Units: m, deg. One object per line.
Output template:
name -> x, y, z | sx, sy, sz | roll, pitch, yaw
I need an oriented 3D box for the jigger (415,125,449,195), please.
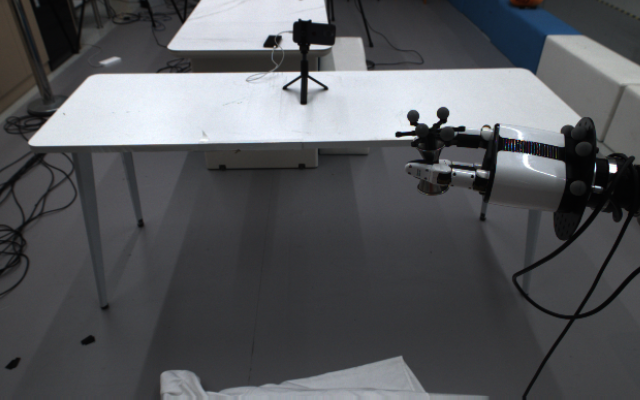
jigger -> 0.153, -0.049, 0.666 | 0.043, 0.071, 0.043 | -9, 31, 5
